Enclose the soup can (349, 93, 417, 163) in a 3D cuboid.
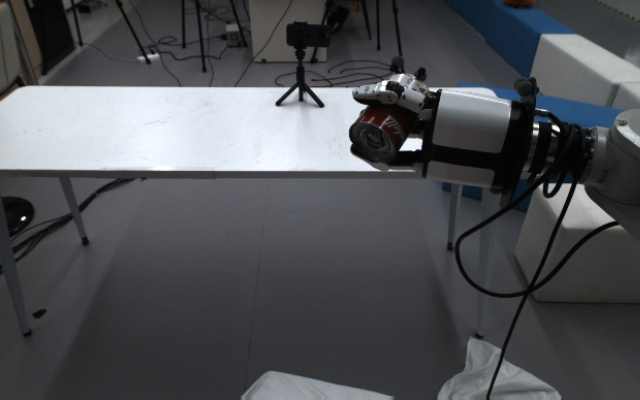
[{"bbox_3d":[0.093,-0.108,0.623,0.067,0.067,0.101,22,60,26],"label":"soup can"}]
